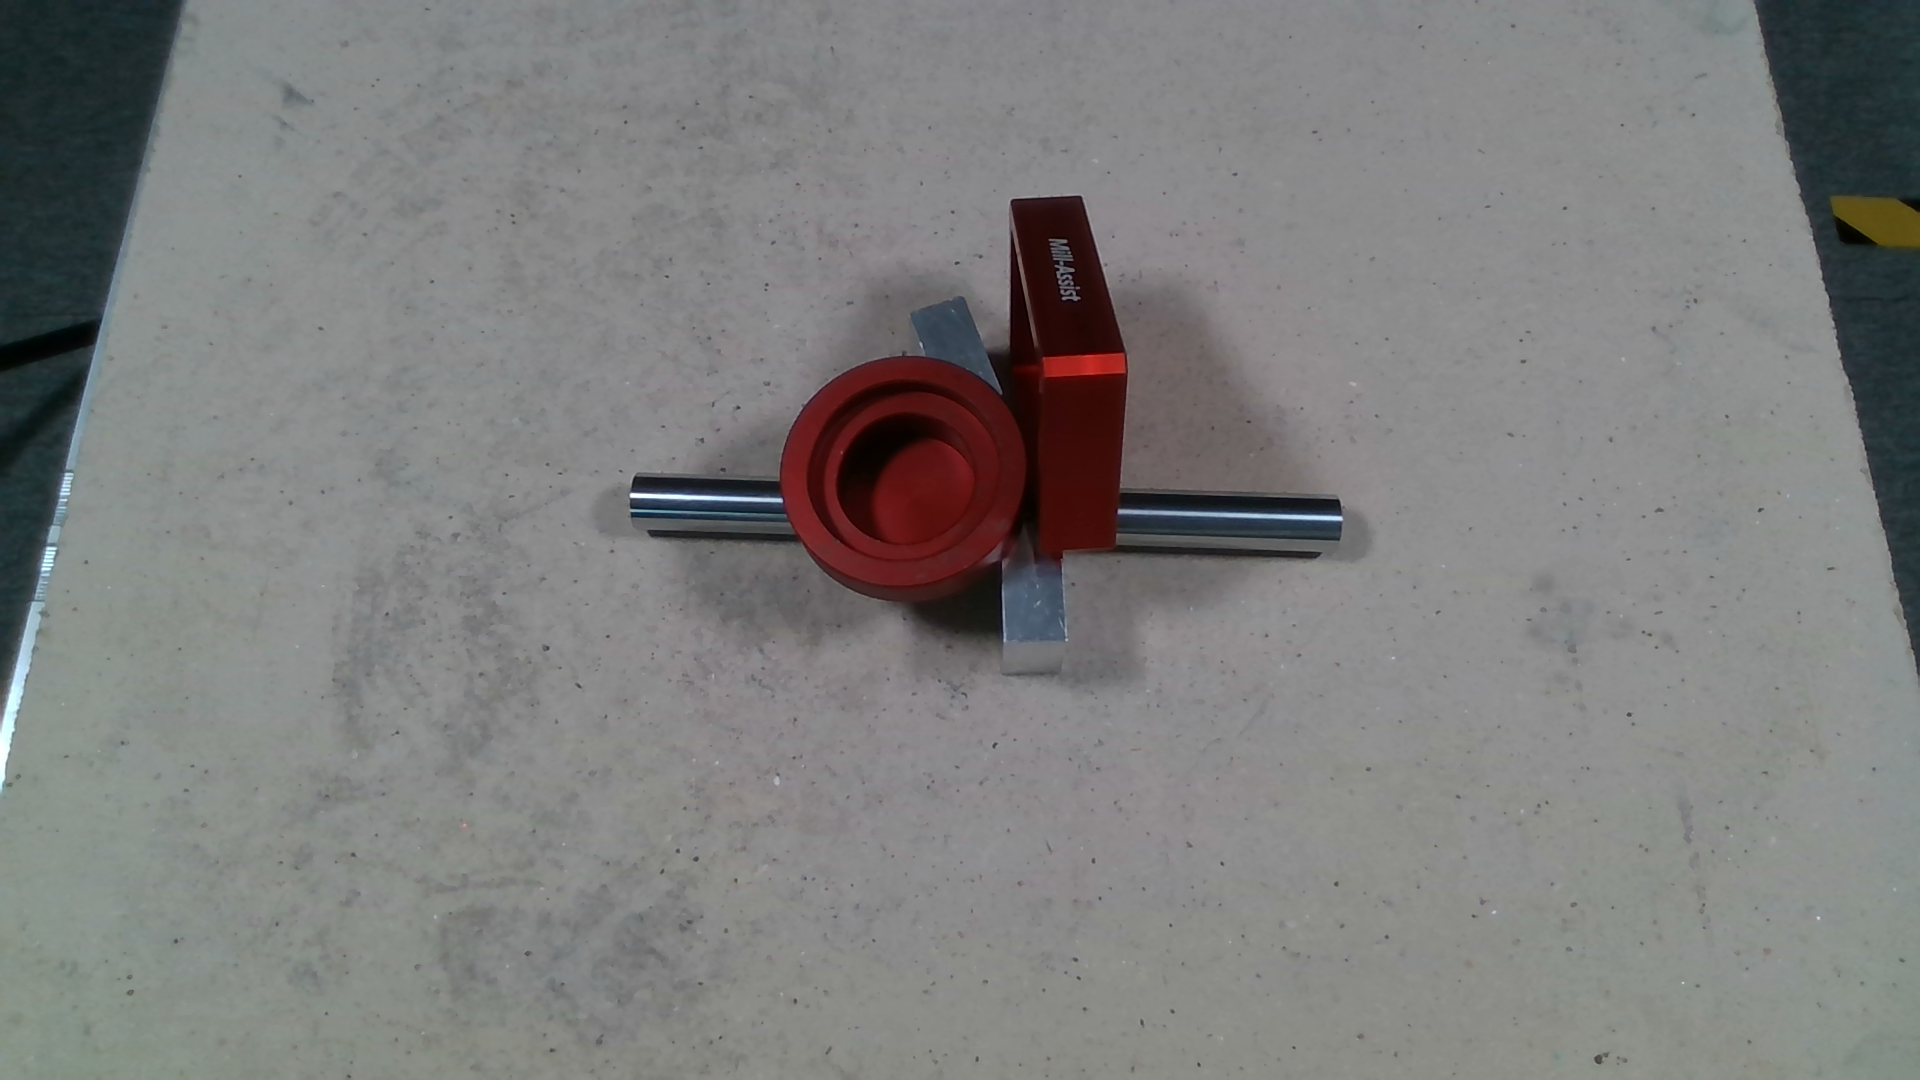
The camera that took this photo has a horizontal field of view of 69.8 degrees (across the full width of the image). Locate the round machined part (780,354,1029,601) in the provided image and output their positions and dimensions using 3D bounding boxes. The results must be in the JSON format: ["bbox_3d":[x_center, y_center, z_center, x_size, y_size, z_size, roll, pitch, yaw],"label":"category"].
[{"bbox_3d":[-0.021,-0.022,0.558,0.098,0.042,0.098,-1,72,3],"label":"round machined part"}]

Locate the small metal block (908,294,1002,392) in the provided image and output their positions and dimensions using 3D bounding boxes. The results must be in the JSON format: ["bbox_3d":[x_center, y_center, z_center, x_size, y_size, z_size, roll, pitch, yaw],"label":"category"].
[{"bbox_3d":[-0.002,-0.070,0.600,0.025,0.050,0.050,-18,71,-7],"label":"small metal block"}]

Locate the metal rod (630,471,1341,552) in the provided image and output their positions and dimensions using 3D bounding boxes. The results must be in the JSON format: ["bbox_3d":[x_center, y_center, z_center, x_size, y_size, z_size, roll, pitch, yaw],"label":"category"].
[{"bbox_3d":[0.011,-0.012,0.593,0.300,0.025,0.025,2,70,1],"label":"metal rod"}]

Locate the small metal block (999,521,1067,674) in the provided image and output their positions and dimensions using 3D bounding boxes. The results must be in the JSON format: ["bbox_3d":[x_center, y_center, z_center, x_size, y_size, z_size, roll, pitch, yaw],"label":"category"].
[{"bbox_3d":[0.028,0.024,0.566,0.025,0.050,0.050,-2,70,-1],"label":"small metal block"}]

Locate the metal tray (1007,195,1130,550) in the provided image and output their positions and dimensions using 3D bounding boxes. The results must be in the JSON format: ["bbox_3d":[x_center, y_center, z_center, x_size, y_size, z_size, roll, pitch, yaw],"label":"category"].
[{"bbox_3d":[0.040,-0.069,0.554,0.030,0.090,0.130,-3,41,-3],"label":"metal tray"}]
